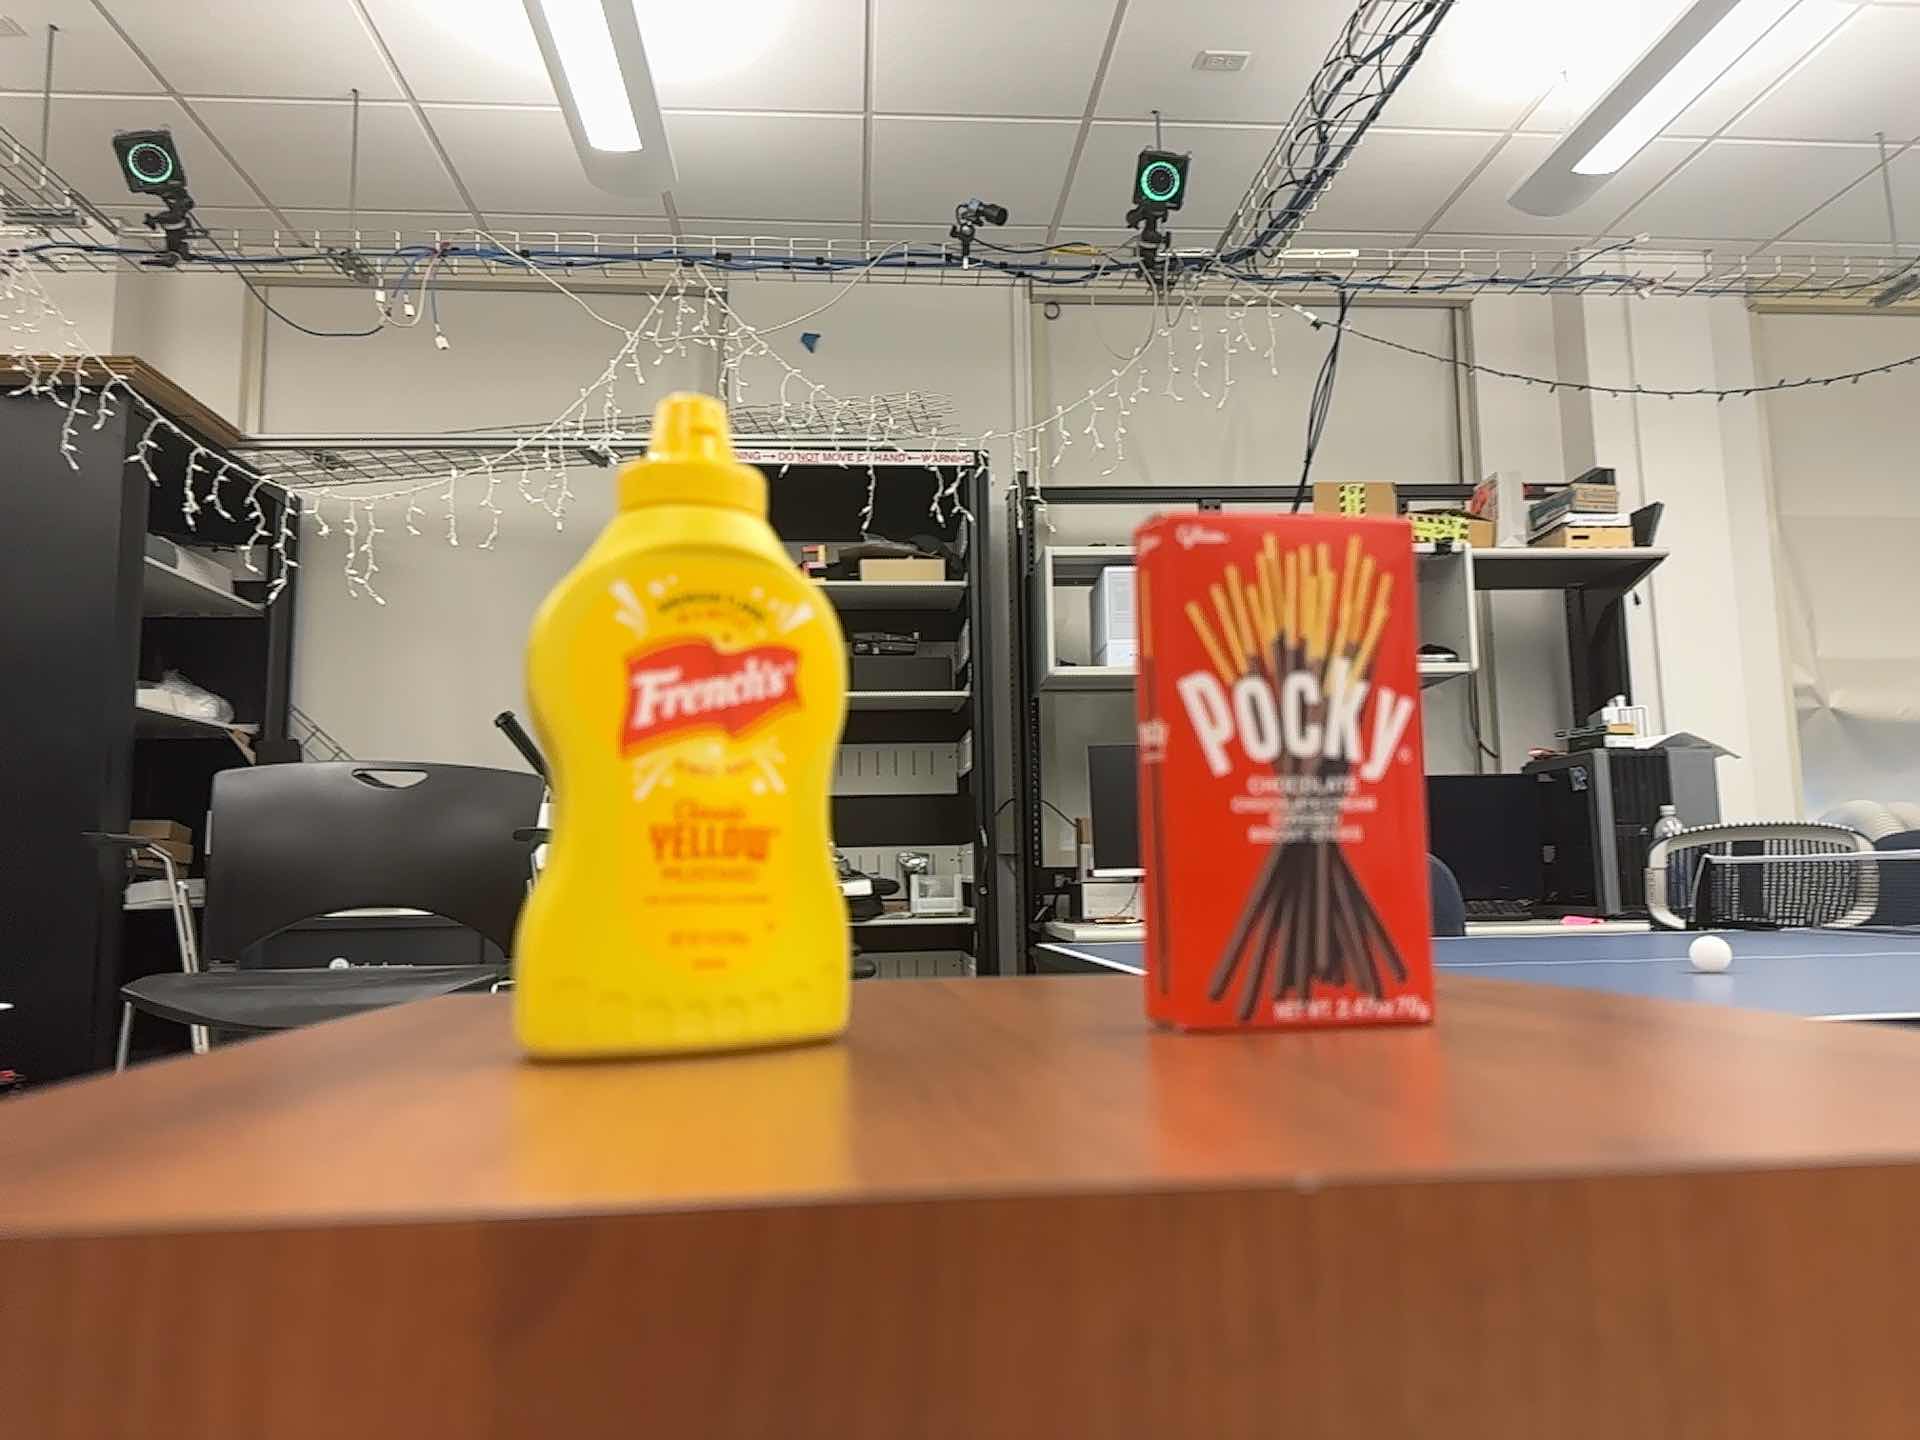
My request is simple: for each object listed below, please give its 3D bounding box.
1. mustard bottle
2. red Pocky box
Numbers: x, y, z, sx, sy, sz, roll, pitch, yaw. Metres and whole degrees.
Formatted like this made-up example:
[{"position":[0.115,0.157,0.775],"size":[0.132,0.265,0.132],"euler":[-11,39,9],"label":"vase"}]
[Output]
[{"position":[-0.074,-0.003,0.370],"size":[0.092,0.184,0.054],"euler":[3,-10,-22],"label":"mustard bottle"},{"position":[0.096,0.014,0.395],"size":[0.083,0.155,0.028],"euler":[0,-8,-10],"label":"red Pocky box"}]
